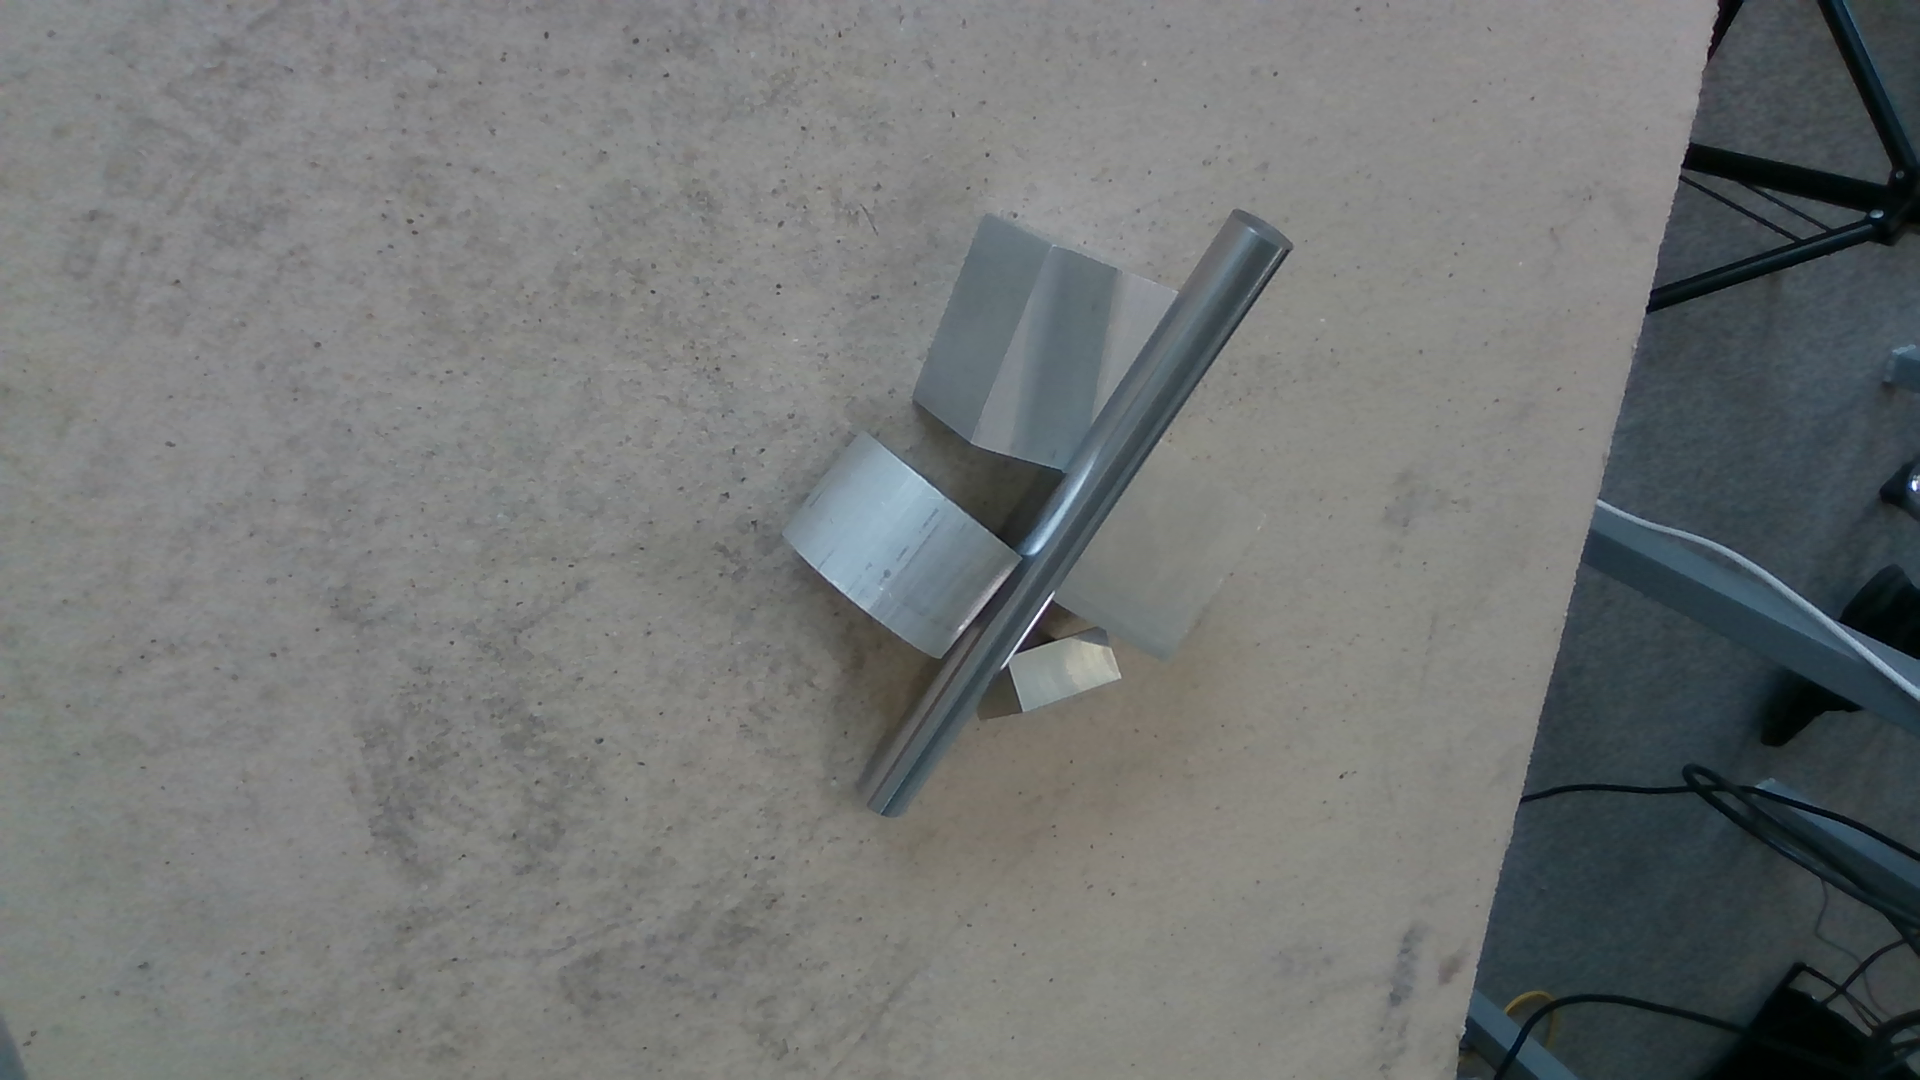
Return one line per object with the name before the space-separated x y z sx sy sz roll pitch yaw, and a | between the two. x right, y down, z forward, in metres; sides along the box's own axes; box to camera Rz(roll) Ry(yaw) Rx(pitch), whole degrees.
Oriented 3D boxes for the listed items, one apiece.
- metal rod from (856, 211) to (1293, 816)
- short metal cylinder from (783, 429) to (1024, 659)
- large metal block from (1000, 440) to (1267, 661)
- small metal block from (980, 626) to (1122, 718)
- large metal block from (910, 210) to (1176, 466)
metal rod | 0.035 0.003 0.552 0.025 0.025 0.301 10 125 -35
short metal cylinder | -0.022 0.001 0.533 0.050 0.080 0.080 -51 129 2
large metal block | 0.074 -0.005 0.605 0.080 0.050 0.080 29 98 -39
small metal block | 0.036 0.059 0.616 0.050 0.050 0.025 -16 86 -24
large metal block | 0.039 -0.075 0.548 0.080 0.050 0.080 12 108 -35
